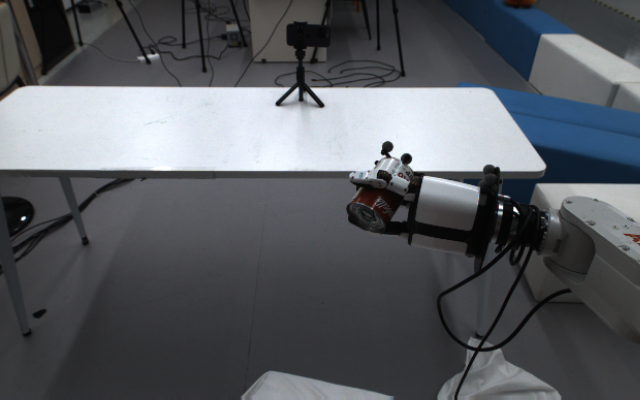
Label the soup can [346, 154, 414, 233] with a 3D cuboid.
[{"bbox_3d":[0.096,-0.010,0.742,0.067,0.067,0.101,22,61,26],"label":"soup can"}]
